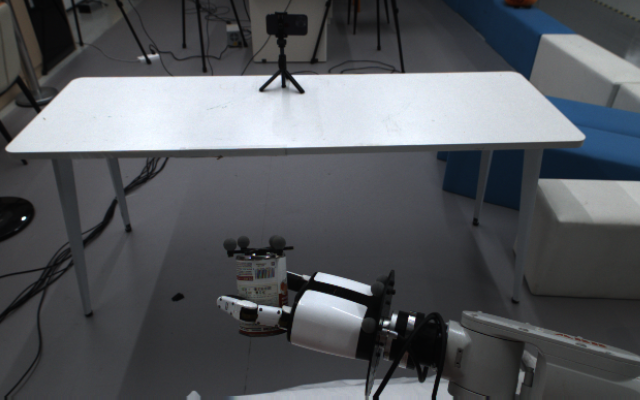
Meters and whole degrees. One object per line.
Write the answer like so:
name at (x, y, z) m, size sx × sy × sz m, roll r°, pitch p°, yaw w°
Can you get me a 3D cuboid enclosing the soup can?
soup can at (-0.075, 0.123, 0.638) m, size 0.067 × 0.101 × 0.067 m, roll -3°, pitch -1°, yaw 0°
